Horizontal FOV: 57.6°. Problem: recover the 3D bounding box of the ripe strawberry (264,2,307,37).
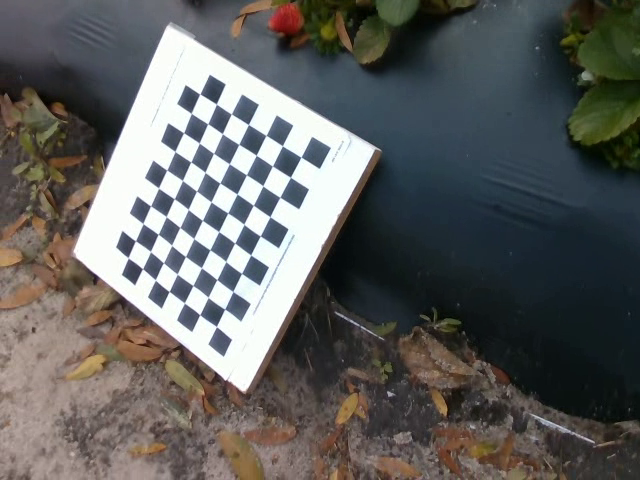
[{"bbox_3d":[-0.033,-0.226,0.593,0.042,0.040,0.037,-38,-15,-28],"label":"ripe strawberry"}]
